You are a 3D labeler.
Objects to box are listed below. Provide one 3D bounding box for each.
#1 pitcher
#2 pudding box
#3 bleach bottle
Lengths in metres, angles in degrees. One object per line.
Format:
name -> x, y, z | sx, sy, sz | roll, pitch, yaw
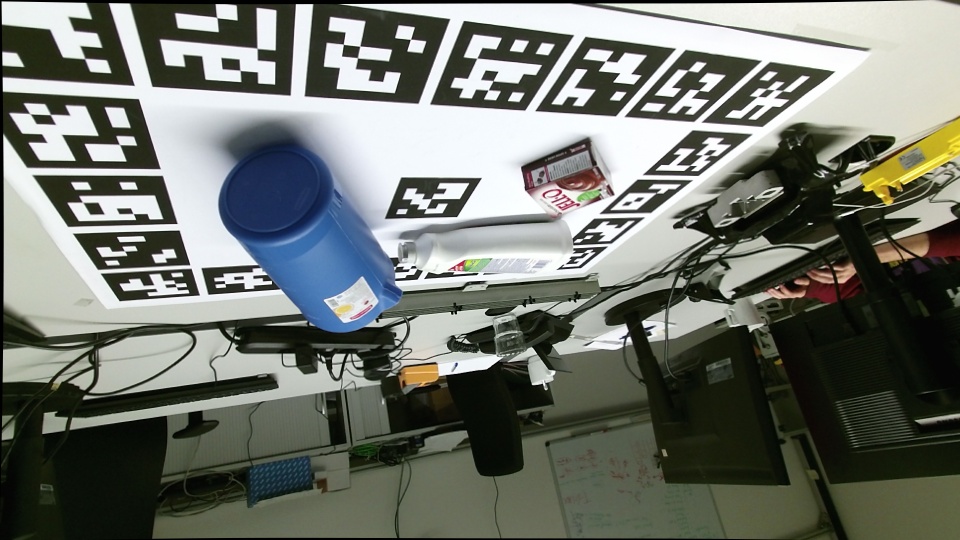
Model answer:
pitcher -> -0.200, -0.032, 0.615 | 0.189, 0.133, 0.243 | 18, 158, 15
pudding box -> 0.113, -0.103, 0.685 | 0.090, 0.038, 0.114 | -16, 157, 22
bleach bottle -> 0.005, -0.020, 0.809 | 0.252, 0.067, 0.103 | -4, 152, -18
